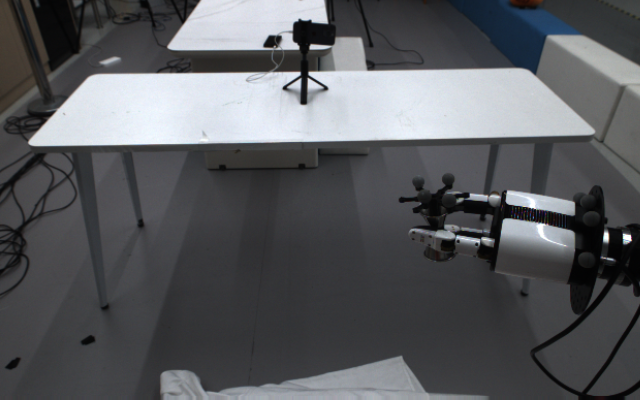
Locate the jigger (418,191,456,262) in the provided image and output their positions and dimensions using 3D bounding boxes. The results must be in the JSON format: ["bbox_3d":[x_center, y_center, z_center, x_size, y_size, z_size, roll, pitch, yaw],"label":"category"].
[{"bbox_3d":[0.158,0.041,0.654,0.043,0.071,0.043,-11,23,5],"label":"jigger"}]
